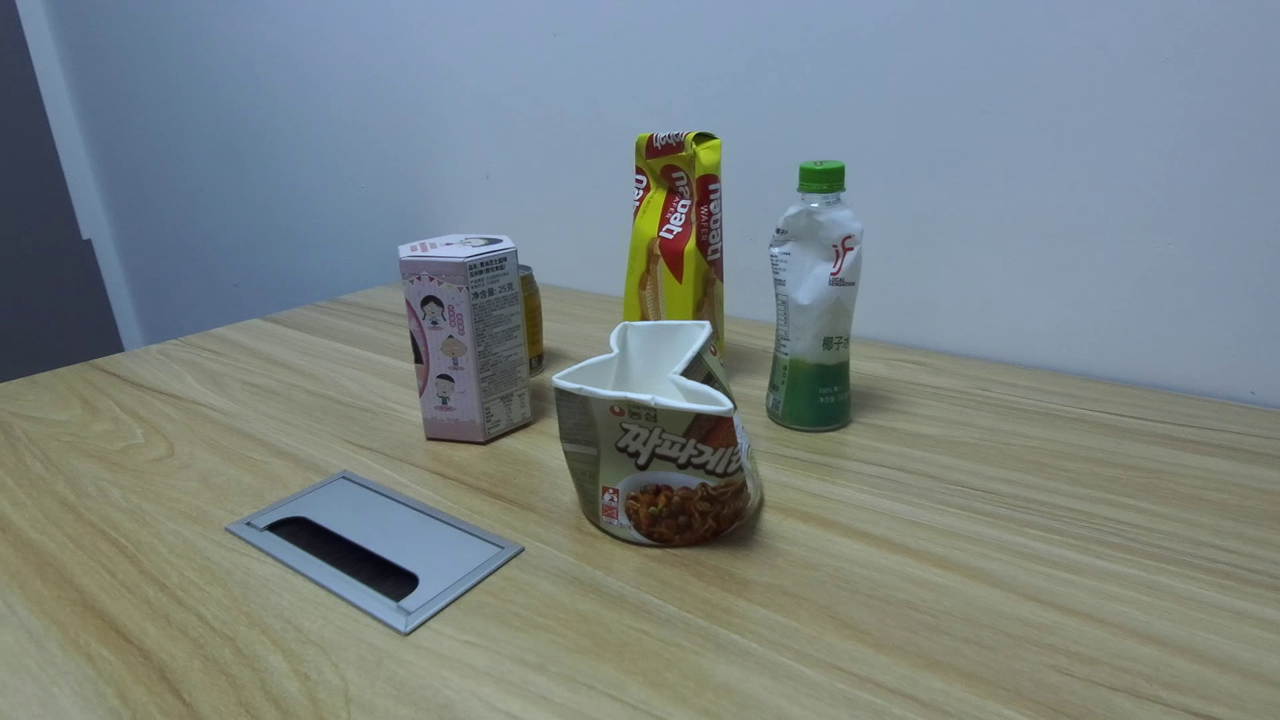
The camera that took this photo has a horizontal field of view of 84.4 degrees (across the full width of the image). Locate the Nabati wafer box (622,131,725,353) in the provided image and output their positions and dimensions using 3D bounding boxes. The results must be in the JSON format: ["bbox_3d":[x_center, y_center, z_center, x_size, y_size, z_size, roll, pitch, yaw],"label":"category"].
[{"bbox_3d":[0.026,-0.080,0.586,0.043,0.205,0.112,-15,23,-37],"label":"Nabati wafer box"}]

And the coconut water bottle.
[{"bbox_3d":[0.126,-0.045,0.506,0.069,0.187,0.069,0,20,0],"label":"coconut water bottle"}]

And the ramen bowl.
[{"bbox_3d":[0.019,0.038,0.424,0.111,0.093,0.128,6,23,19],"label":"ramen bowl"}]

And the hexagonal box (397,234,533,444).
[{"bbox_3d":[-0.128,-0.017,0.522,0.084,0.136,0.091,-8,22,-17],"label":"hexagonal box"}]
